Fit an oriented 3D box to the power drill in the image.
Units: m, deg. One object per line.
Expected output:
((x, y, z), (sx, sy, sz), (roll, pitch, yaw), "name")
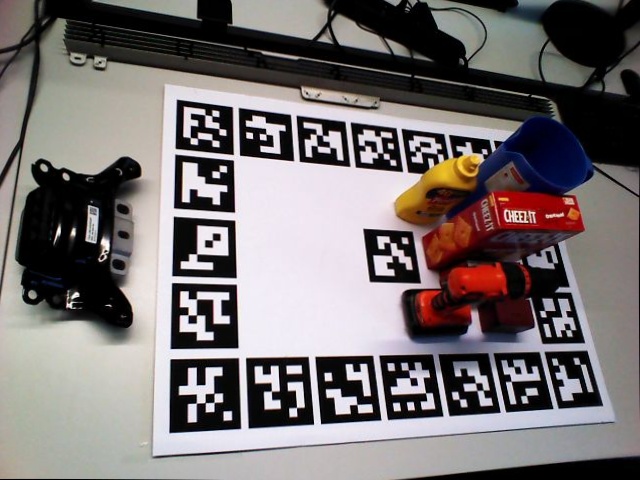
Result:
((0.280, 0.102, 0.800), (0.184, 0.188, 0.057), (3, 65, -19), "power drill")

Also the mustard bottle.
((0.246, -0.089, 0.887), (0.096, 0.193, 0.058), (16, 66, -13), "mustard bottle")

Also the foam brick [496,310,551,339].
((0.361, 0.148, 0.926), (0.078, 0.052, 0.052), (6, 70, -17), "foam brick")

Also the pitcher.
((0.376, -0.085, 0.918), (0.189, 0.244, 0.132), (9, 67, -14), "pitcher")

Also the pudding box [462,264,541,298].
((0.314, 0.073, 0.901), (0.114, 0.090, 0.038), (4, 67, -15), "pudding box")

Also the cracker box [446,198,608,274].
((0.335, 0.009, 0.873), (0.164, 0.215, 0.071), (1, 68, -17), "cracker box")
